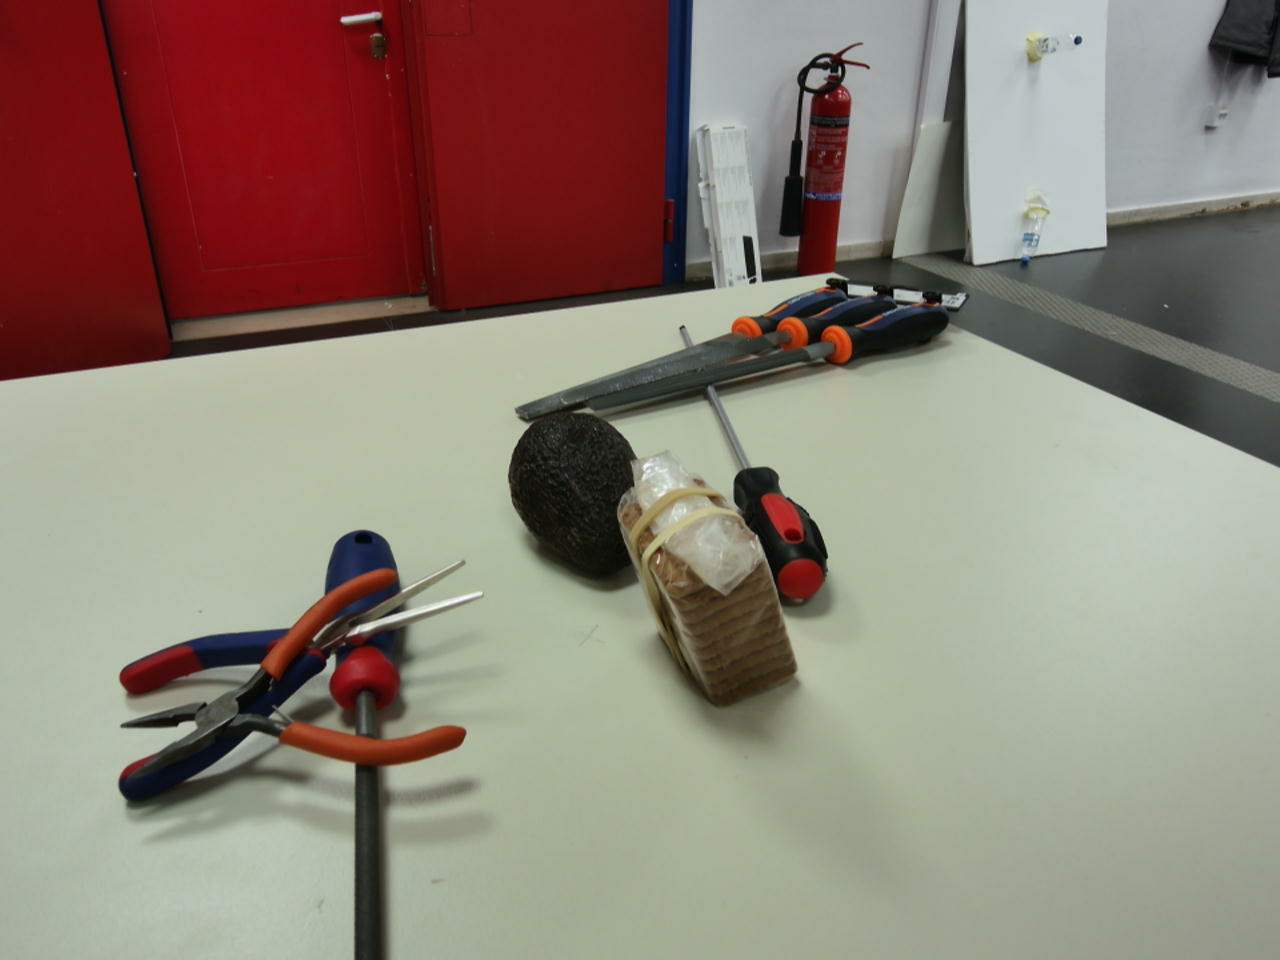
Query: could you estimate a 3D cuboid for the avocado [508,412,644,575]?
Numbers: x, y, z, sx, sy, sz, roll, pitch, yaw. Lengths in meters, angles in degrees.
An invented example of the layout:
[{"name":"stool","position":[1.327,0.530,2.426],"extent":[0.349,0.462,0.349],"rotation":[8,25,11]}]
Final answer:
[{"name":"avocado","position":[-0.033,0.003,0.510],"extent":[0.070,0.069,0.090],"rotation":[1,25,0]}]
